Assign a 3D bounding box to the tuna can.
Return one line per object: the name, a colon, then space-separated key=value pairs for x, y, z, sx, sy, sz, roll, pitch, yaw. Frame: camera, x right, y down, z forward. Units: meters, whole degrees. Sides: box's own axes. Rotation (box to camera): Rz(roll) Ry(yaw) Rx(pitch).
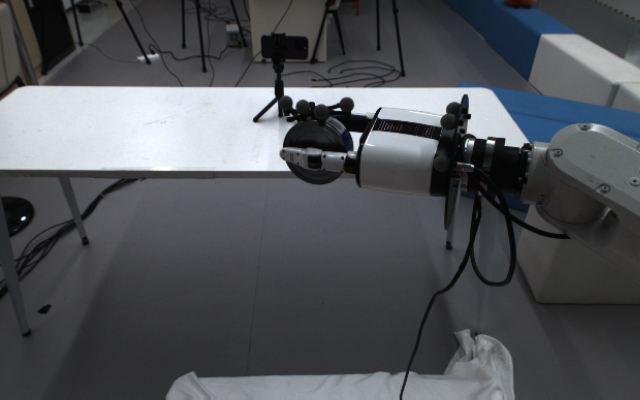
tuna can: x=0.000 y=-0.066 z=0.617 sx=0.085 sy=0.085 sz=0.034 roll=14 pitch=29 yaw=16
